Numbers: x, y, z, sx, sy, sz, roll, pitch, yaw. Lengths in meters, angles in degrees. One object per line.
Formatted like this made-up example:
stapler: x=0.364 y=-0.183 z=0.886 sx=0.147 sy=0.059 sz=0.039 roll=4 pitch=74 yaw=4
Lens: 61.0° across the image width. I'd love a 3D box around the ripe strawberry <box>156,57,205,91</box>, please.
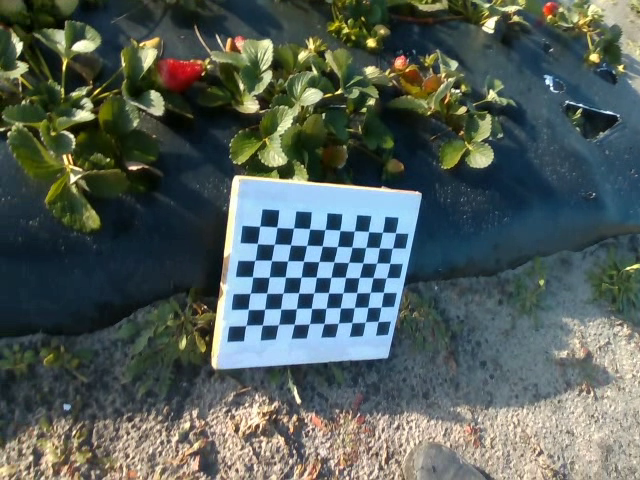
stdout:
ripe strawberry: x=-0.191 y=-0.235 z=0.751 sx=0.072 sy=0.057 sz=0.055 roll=-19 pitch=25 yaw=-8
